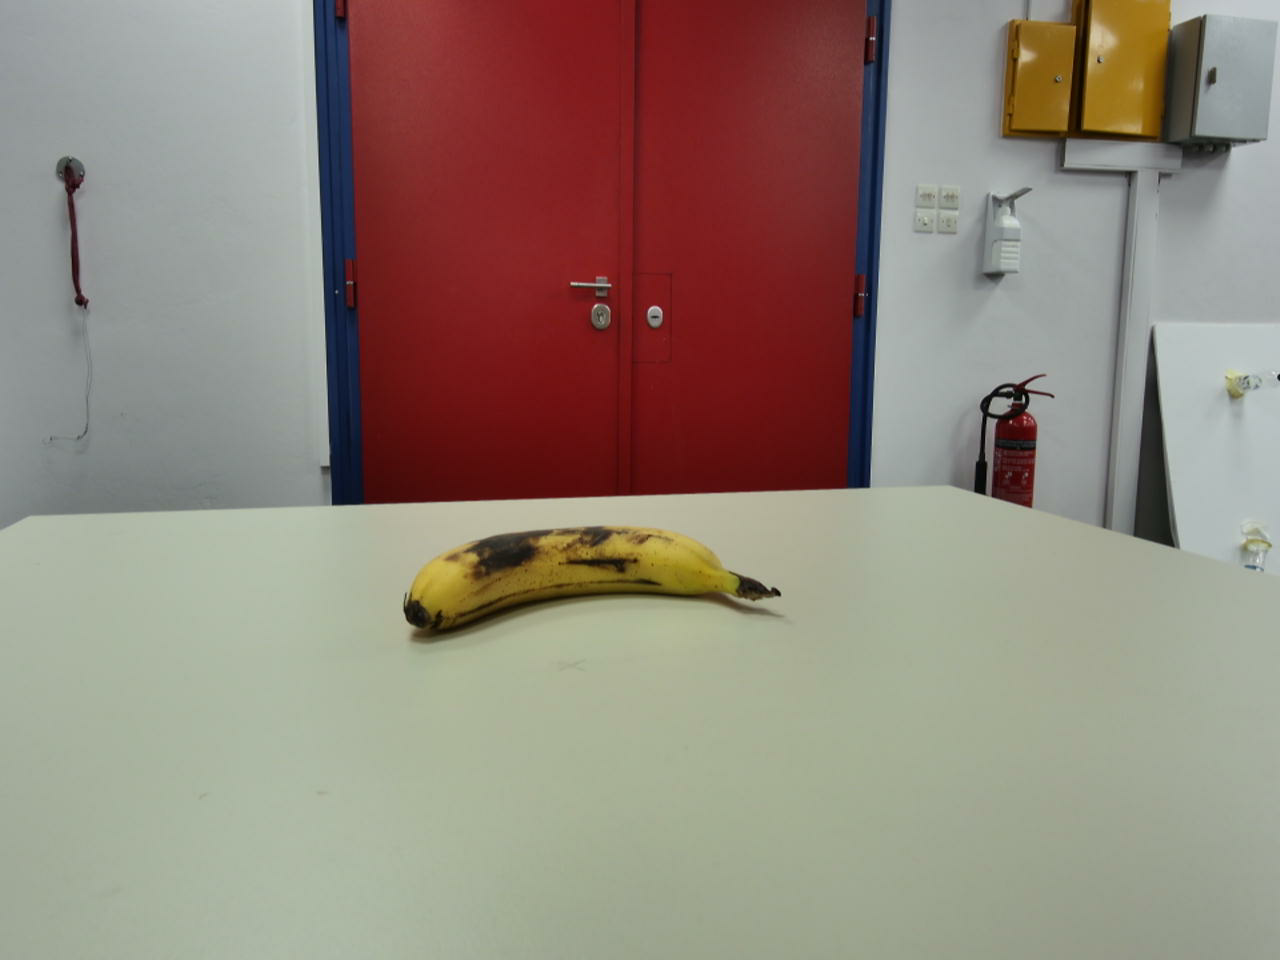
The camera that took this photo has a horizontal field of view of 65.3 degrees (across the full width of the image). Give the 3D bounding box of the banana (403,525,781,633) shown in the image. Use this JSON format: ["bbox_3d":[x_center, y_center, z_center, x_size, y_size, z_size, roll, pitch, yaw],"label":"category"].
[{"bbox_3d":[-0.030,0.049,0.530,0.187,0.039,0.094,-2,7,-15],"label":"banana"}]
